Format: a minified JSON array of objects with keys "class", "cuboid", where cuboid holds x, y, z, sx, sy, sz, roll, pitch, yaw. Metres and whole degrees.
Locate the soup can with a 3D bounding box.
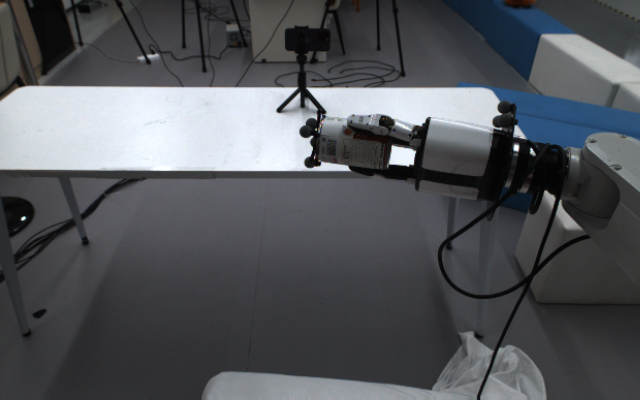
[{"class":"soup can","cuboid":[0.053,-0.082,0.695,0.101,0.067,0.067,8,35,10]}]
